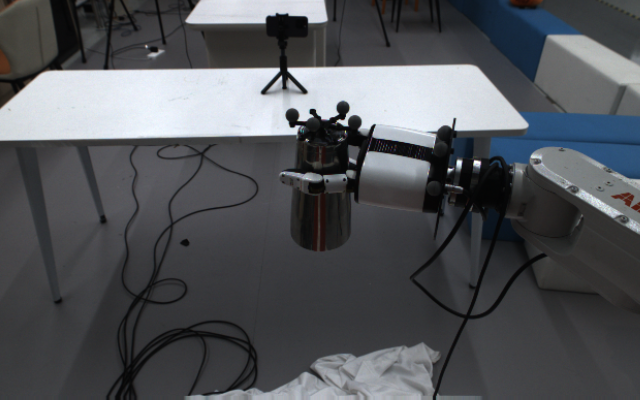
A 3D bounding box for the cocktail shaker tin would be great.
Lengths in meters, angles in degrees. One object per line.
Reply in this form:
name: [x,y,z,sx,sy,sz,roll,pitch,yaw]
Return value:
cocktail shaker tin: [0.006,-0.025,0.677,0.093,0.170,0.093,1,39,-1]
